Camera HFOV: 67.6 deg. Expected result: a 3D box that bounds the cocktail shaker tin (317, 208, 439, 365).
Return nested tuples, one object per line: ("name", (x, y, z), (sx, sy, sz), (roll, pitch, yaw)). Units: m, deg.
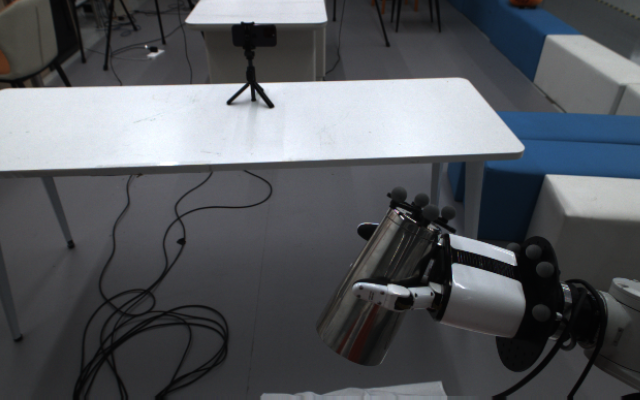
("cocktail shaker tin", (0.075, 0.093, 0.567), (0.093, 0.170, 0.093), (24, 13, -6))
